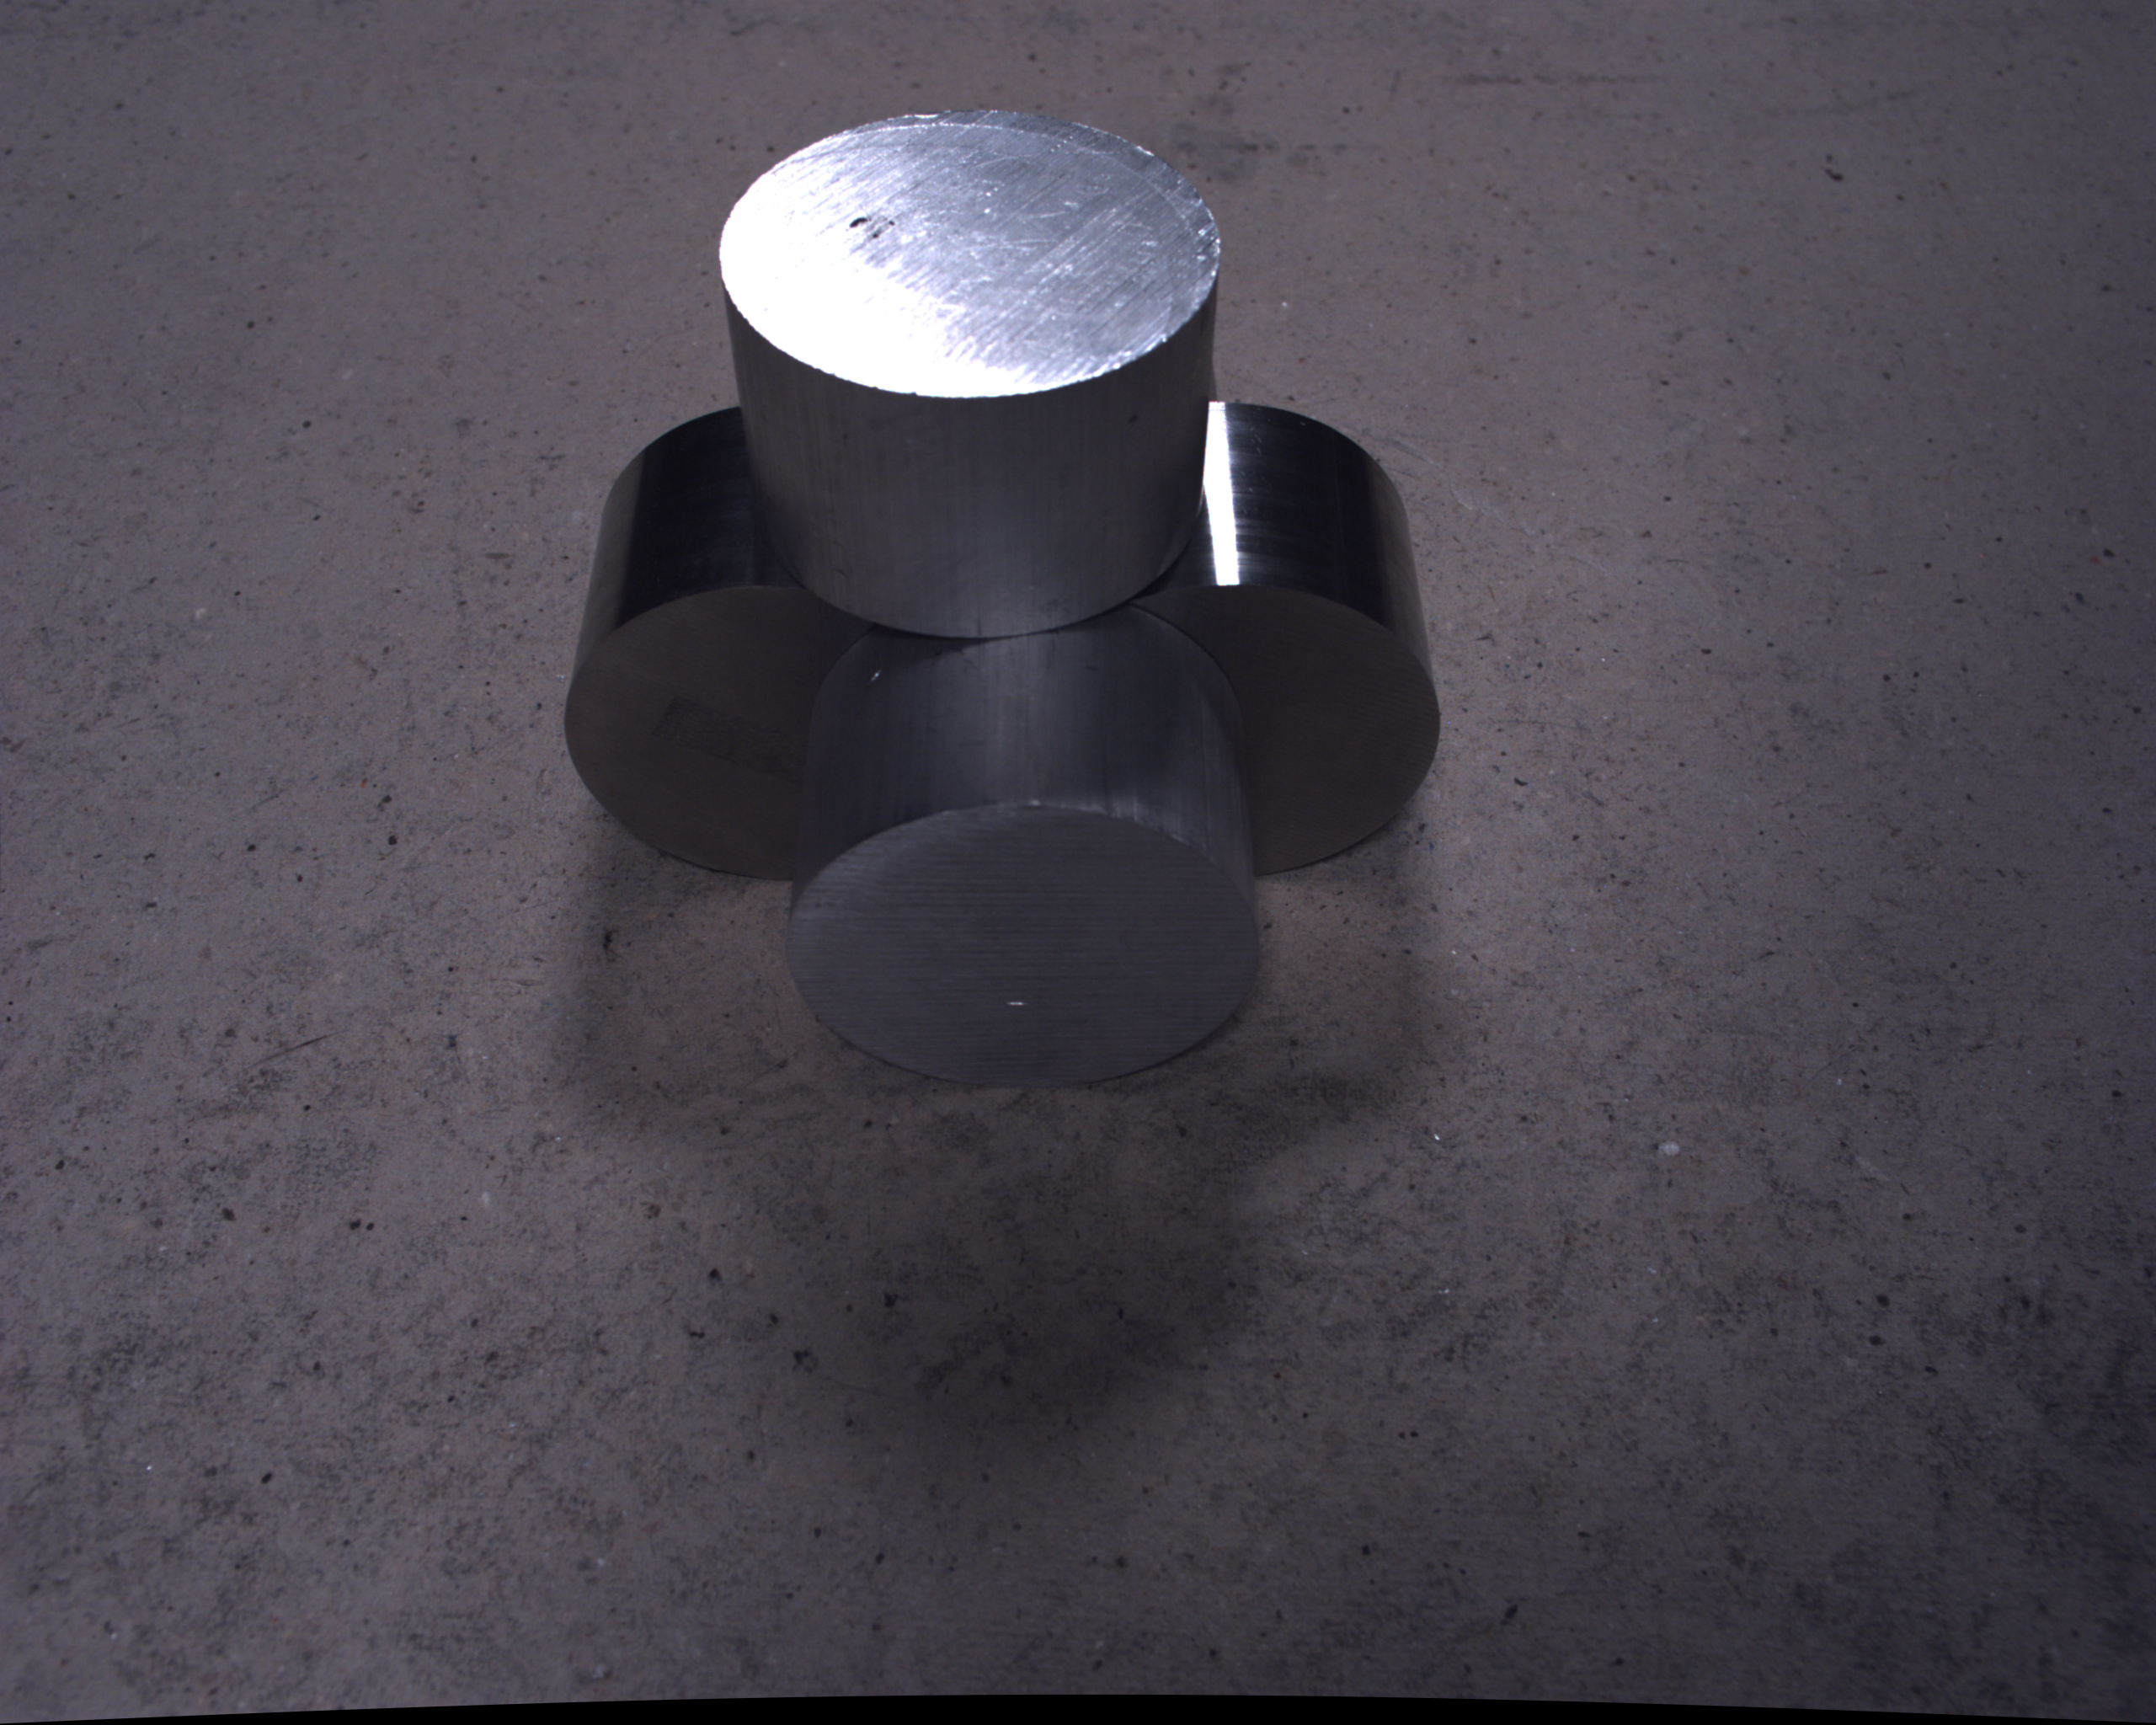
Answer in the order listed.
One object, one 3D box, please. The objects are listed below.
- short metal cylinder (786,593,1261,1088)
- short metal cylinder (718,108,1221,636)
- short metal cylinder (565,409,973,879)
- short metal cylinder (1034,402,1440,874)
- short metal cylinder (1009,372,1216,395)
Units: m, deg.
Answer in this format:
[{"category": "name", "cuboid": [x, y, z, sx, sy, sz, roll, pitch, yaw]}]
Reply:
[{"category": "short metal cylinder", "cuboid": [-0.009, -0.003, 0.371, 0.081, 0.080, 0.050, 0, 50, -1]}, {"category": "short metal cylinder", "cuboid": [-0.017, -0.084, 0.355, 0.081, 0.050, 0.080, 0, 50, 0]}, {"category": "short metal cylinder", "cuboid": [-0.055, -0.041, 0.403, 0.081, 0.080, 0.050, -1, 50, -1]}, {"category": "short metal cylinder", "cuboid": [0.027, -0.041, 0.404, 0.081, 0.080, 0.050, 0, 50, -1]}, {"category": "short metal cylinder", "cuboid": [-0.009, -0.081, 0.437, 0.081, 0.080, 0.050, -1, 50, -2]}]
